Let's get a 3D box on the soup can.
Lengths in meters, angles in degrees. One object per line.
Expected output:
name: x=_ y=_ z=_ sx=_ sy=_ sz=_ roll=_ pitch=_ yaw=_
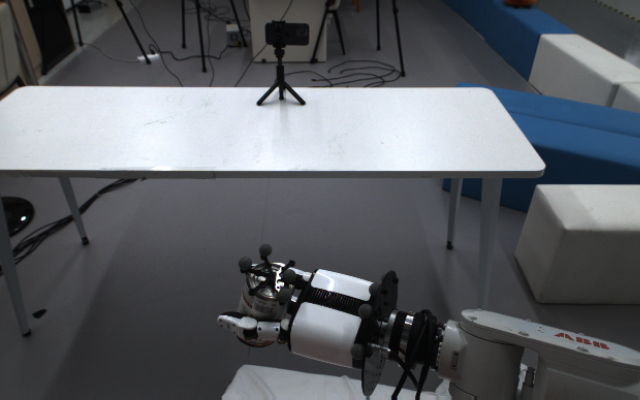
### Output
soup can: x=-0.075 y=0.146 z=0.665 sx=0.067 sy=0.101 sz=0.067 roll=13 pitch=35 yaw=-9
